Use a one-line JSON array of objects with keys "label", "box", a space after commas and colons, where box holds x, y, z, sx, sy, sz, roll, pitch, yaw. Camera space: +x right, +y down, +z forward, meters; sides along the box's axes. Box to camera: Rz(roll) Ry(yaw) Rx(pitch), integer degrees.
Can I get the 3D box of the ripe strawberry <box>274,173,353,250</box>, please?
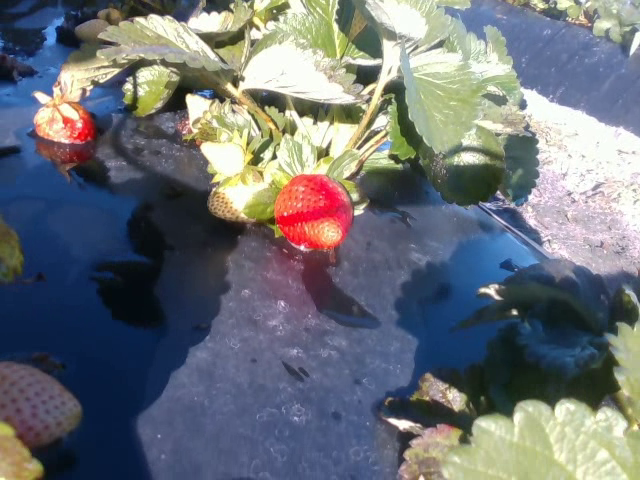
[{"label": "ripe strawberry", "box": [0.000, -0.010, 0.313, 0.049, 0.052, 0.064, -30, 32, -4]}]
